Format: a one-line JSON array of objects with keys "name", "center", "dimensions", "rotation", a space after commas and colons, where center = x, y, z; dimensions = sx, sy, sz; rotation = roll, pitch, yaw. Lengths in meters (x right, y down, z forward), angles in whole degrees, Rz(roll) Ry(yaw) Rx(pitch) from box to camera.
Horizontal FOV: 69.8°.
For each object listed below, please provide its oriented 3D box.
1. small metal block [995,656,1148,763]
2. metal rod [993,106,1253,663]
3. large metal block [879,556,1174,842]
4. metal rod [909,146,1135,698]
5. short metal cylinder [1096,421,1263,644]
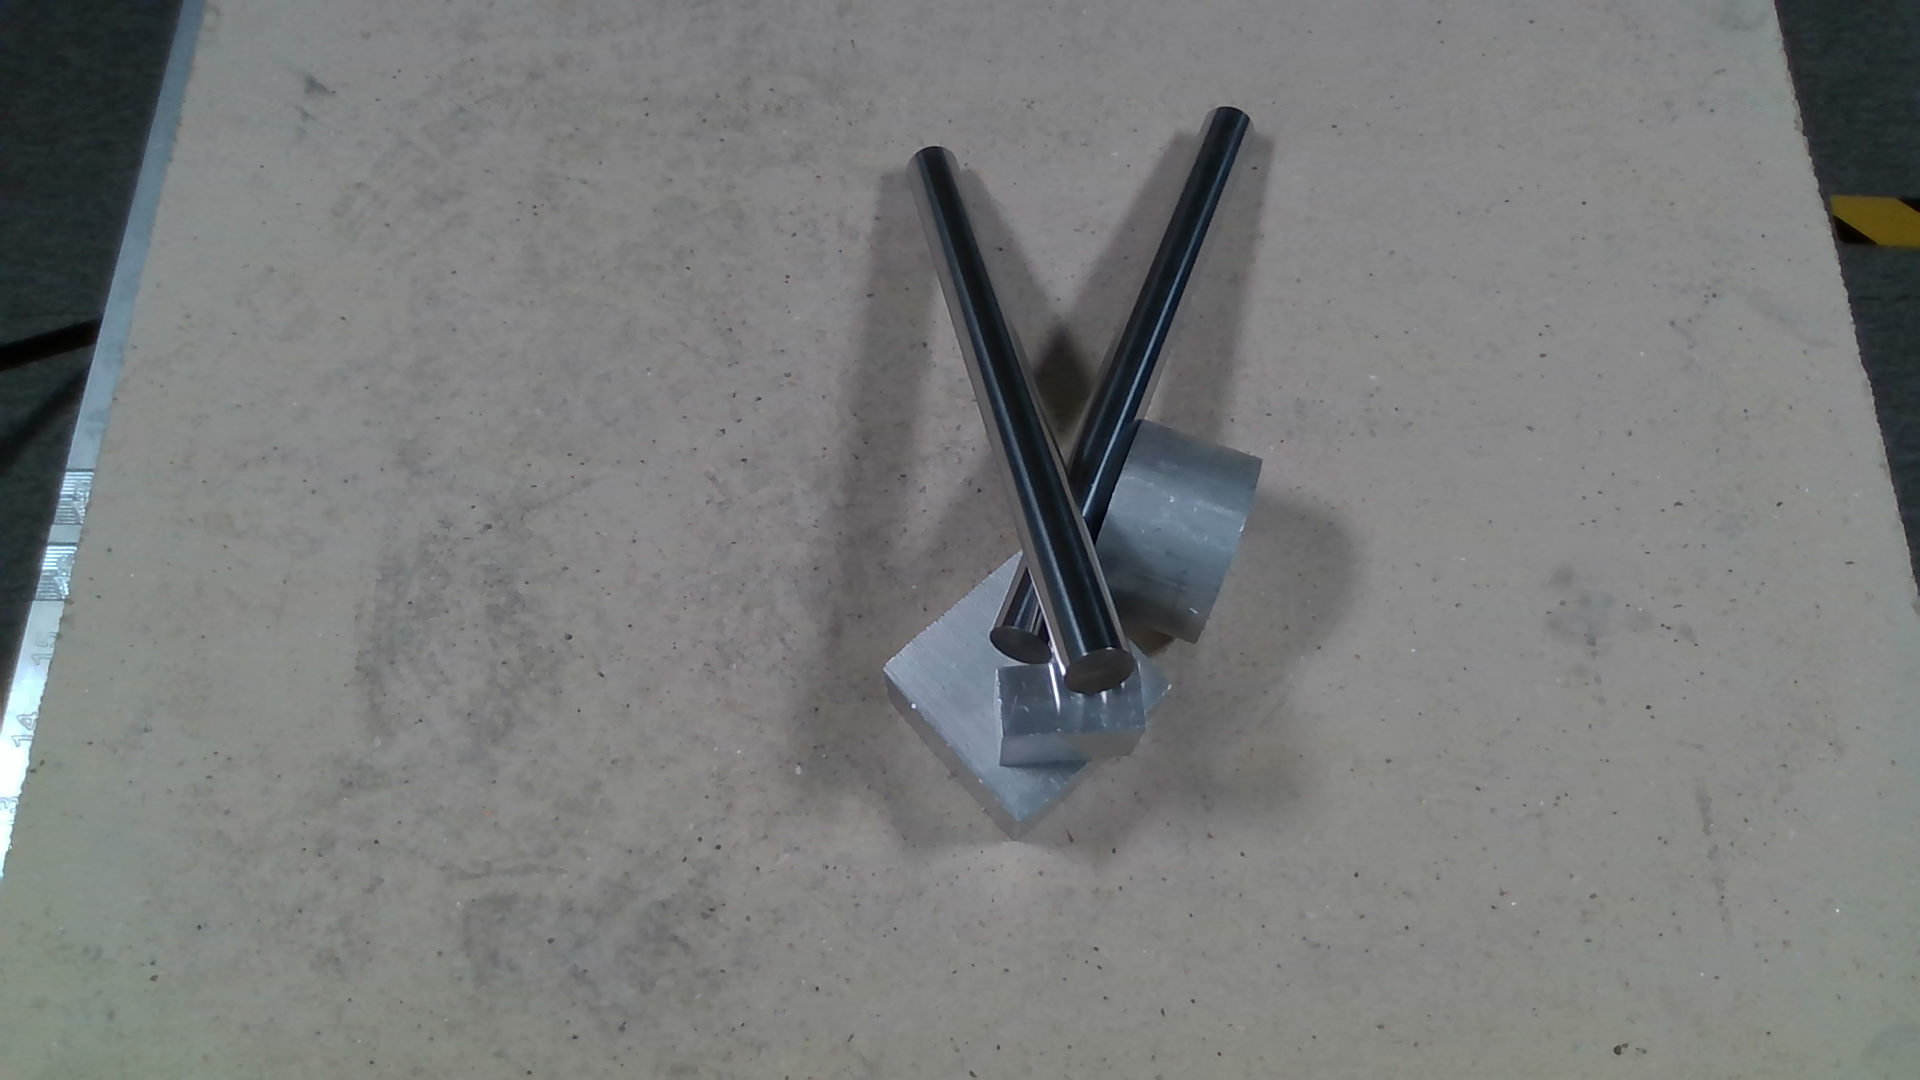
[{"name": "small metal block", "center": [0.038, 0.063, 0.496], "dimensions": [0.050, 0.050, 0.025], "rotation": [-4, 70, -1]}, {"name": "metal rod", "center": [0.077, -0.080, 0.586], "dimensions": [0.025, 0.025, 0.299], "rotation": [20, 60, 7]}, {"name": "large metal block", "center": [0.025, 0.062, 0.551], "dimensions": [0.080, 0.050, 0.080], "rotation": [-40, 74, -13]}, {"name": "metal rod", "center": [0.017, -0.065, 0.555], "dimensions": [0.025, 0.025, 0.299], "rotation": [-12, 50, -4]}, {"name": "short metal cylinder", "center": [0.086, -0.003, 0.562], "dimensions": [0.050, 0.080, 0.080], "rotation": [20, 71, 7]}]
